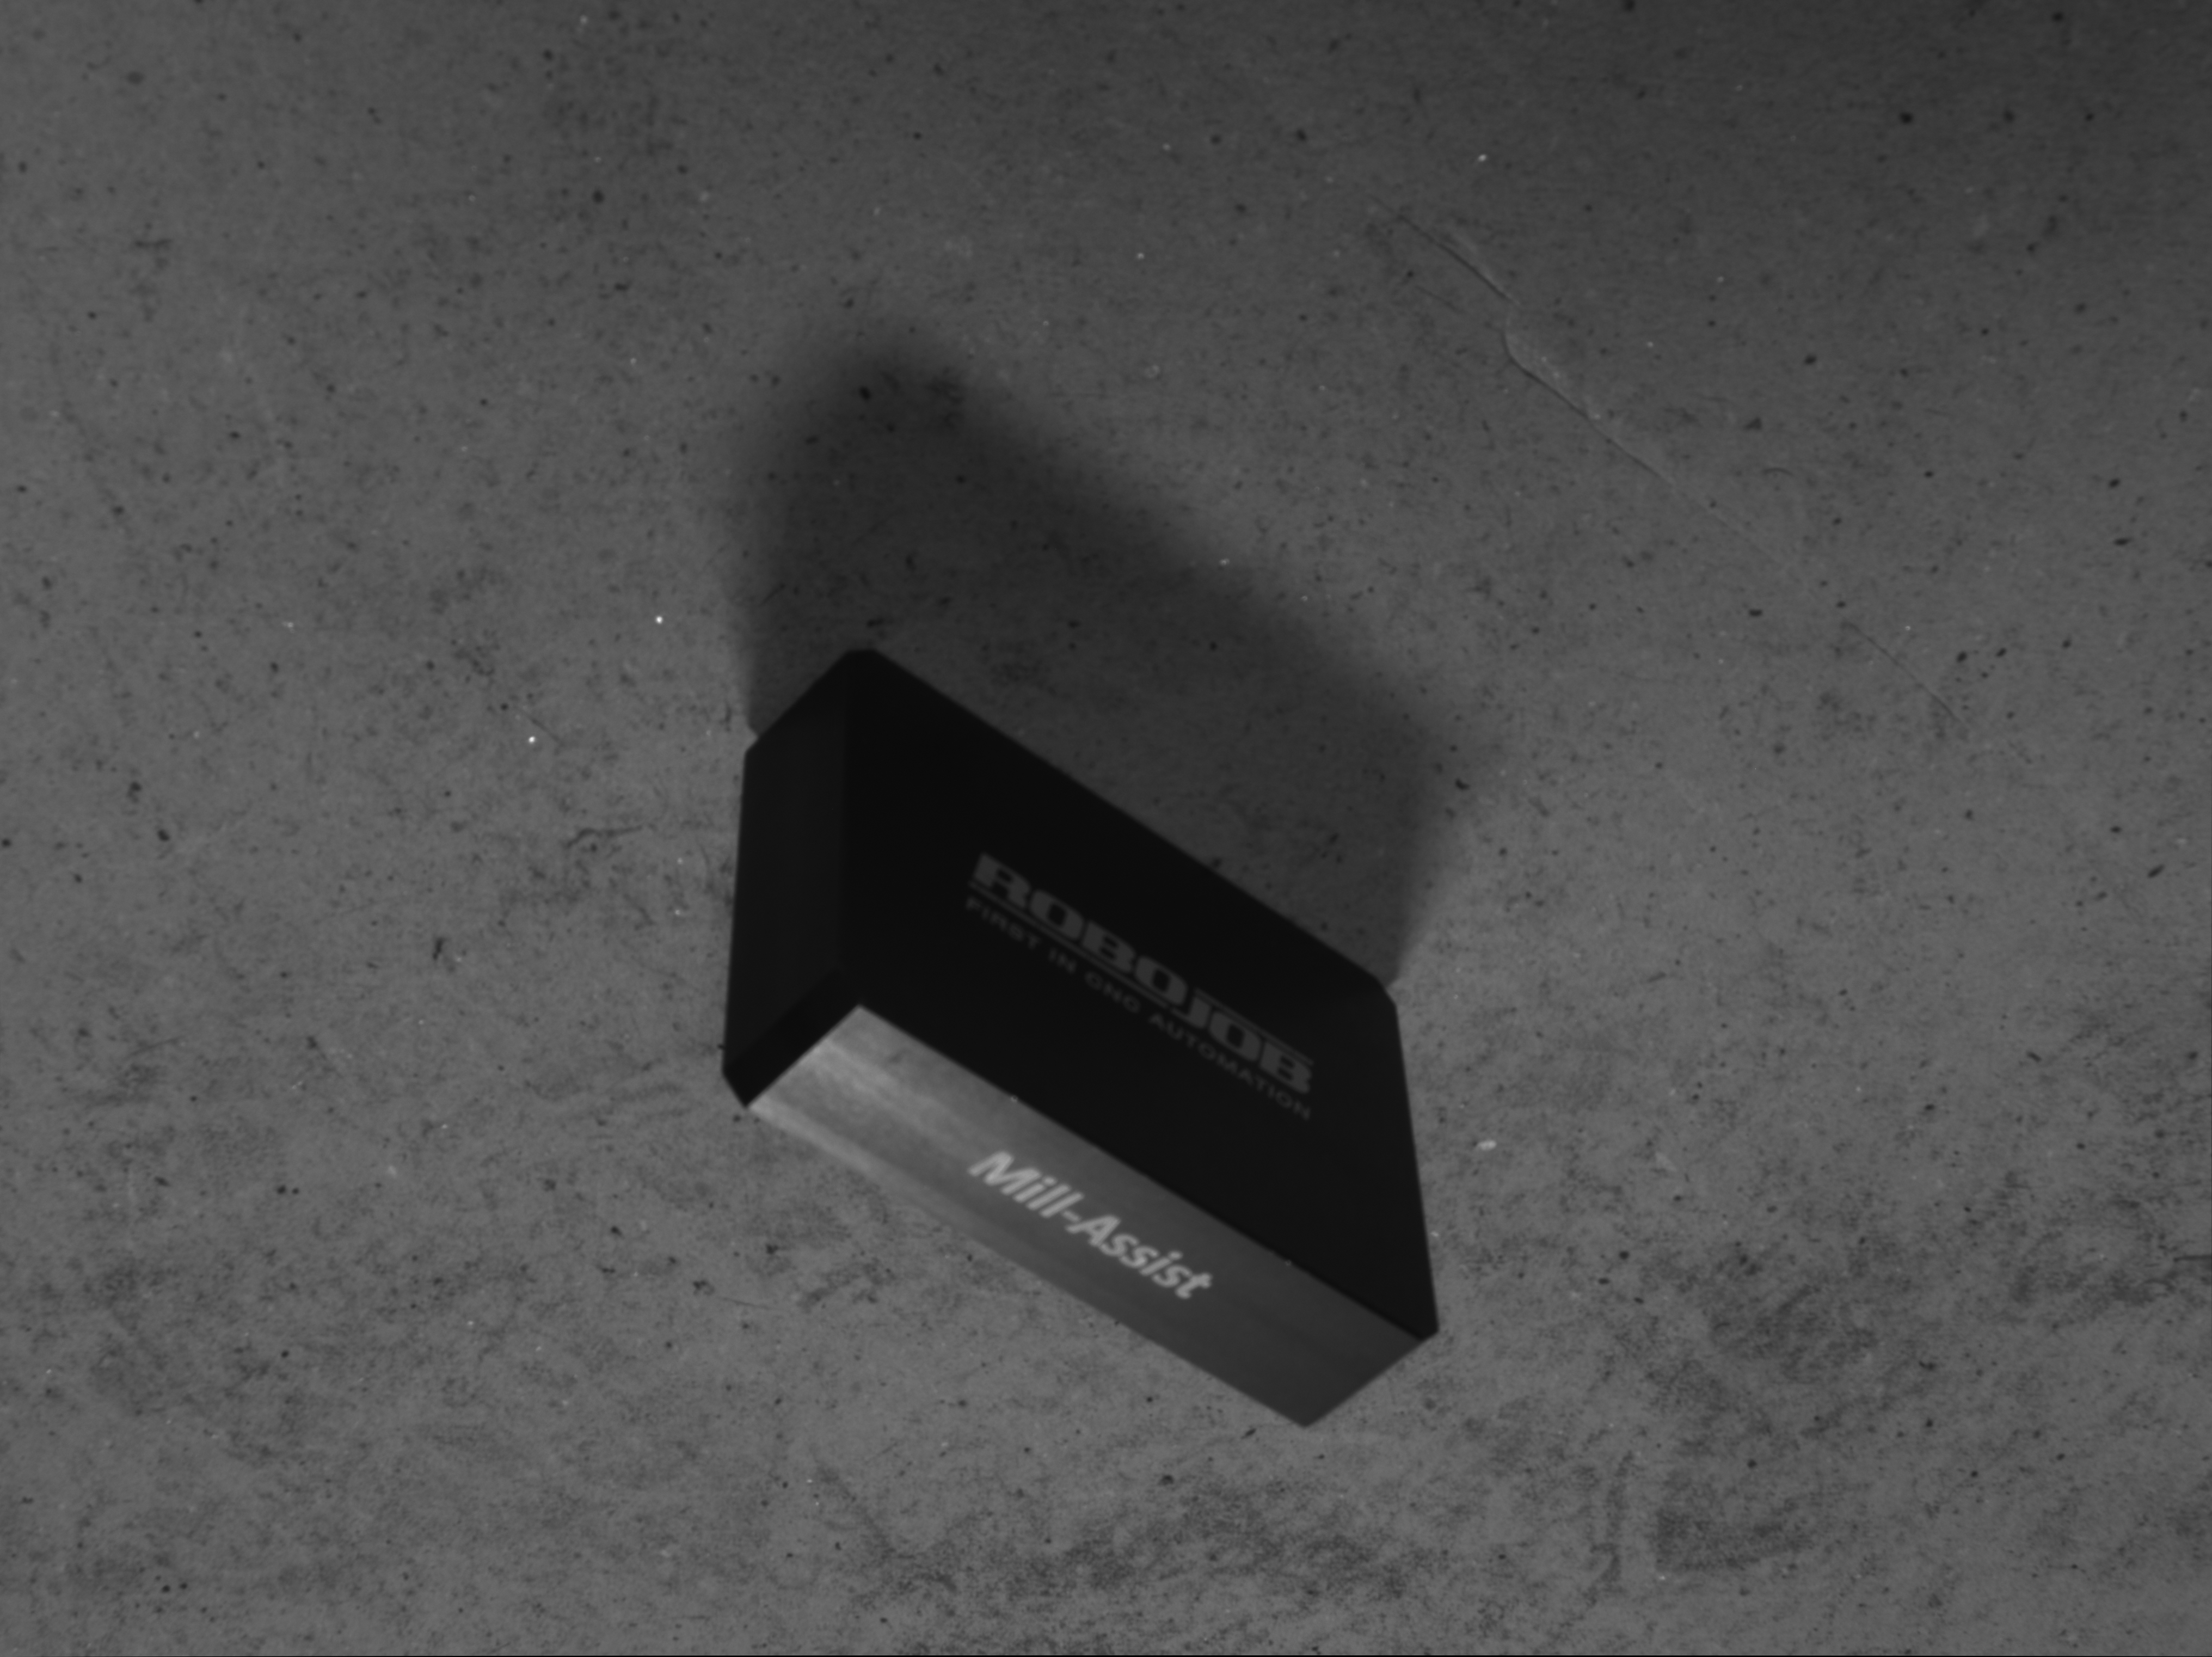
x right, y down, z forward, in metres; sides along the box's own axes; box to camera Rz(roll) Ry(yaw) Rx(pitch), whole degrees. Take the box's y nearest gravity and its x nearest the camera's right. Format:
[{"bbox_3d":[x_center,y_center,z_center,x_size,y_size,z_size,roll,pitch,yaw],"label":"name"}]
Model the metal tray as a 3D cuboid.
[{"bbox_3d":[0.005,0.036,0.627,0.130,0.090,0.030,33,122,-26],"label":"metal tray"}]
